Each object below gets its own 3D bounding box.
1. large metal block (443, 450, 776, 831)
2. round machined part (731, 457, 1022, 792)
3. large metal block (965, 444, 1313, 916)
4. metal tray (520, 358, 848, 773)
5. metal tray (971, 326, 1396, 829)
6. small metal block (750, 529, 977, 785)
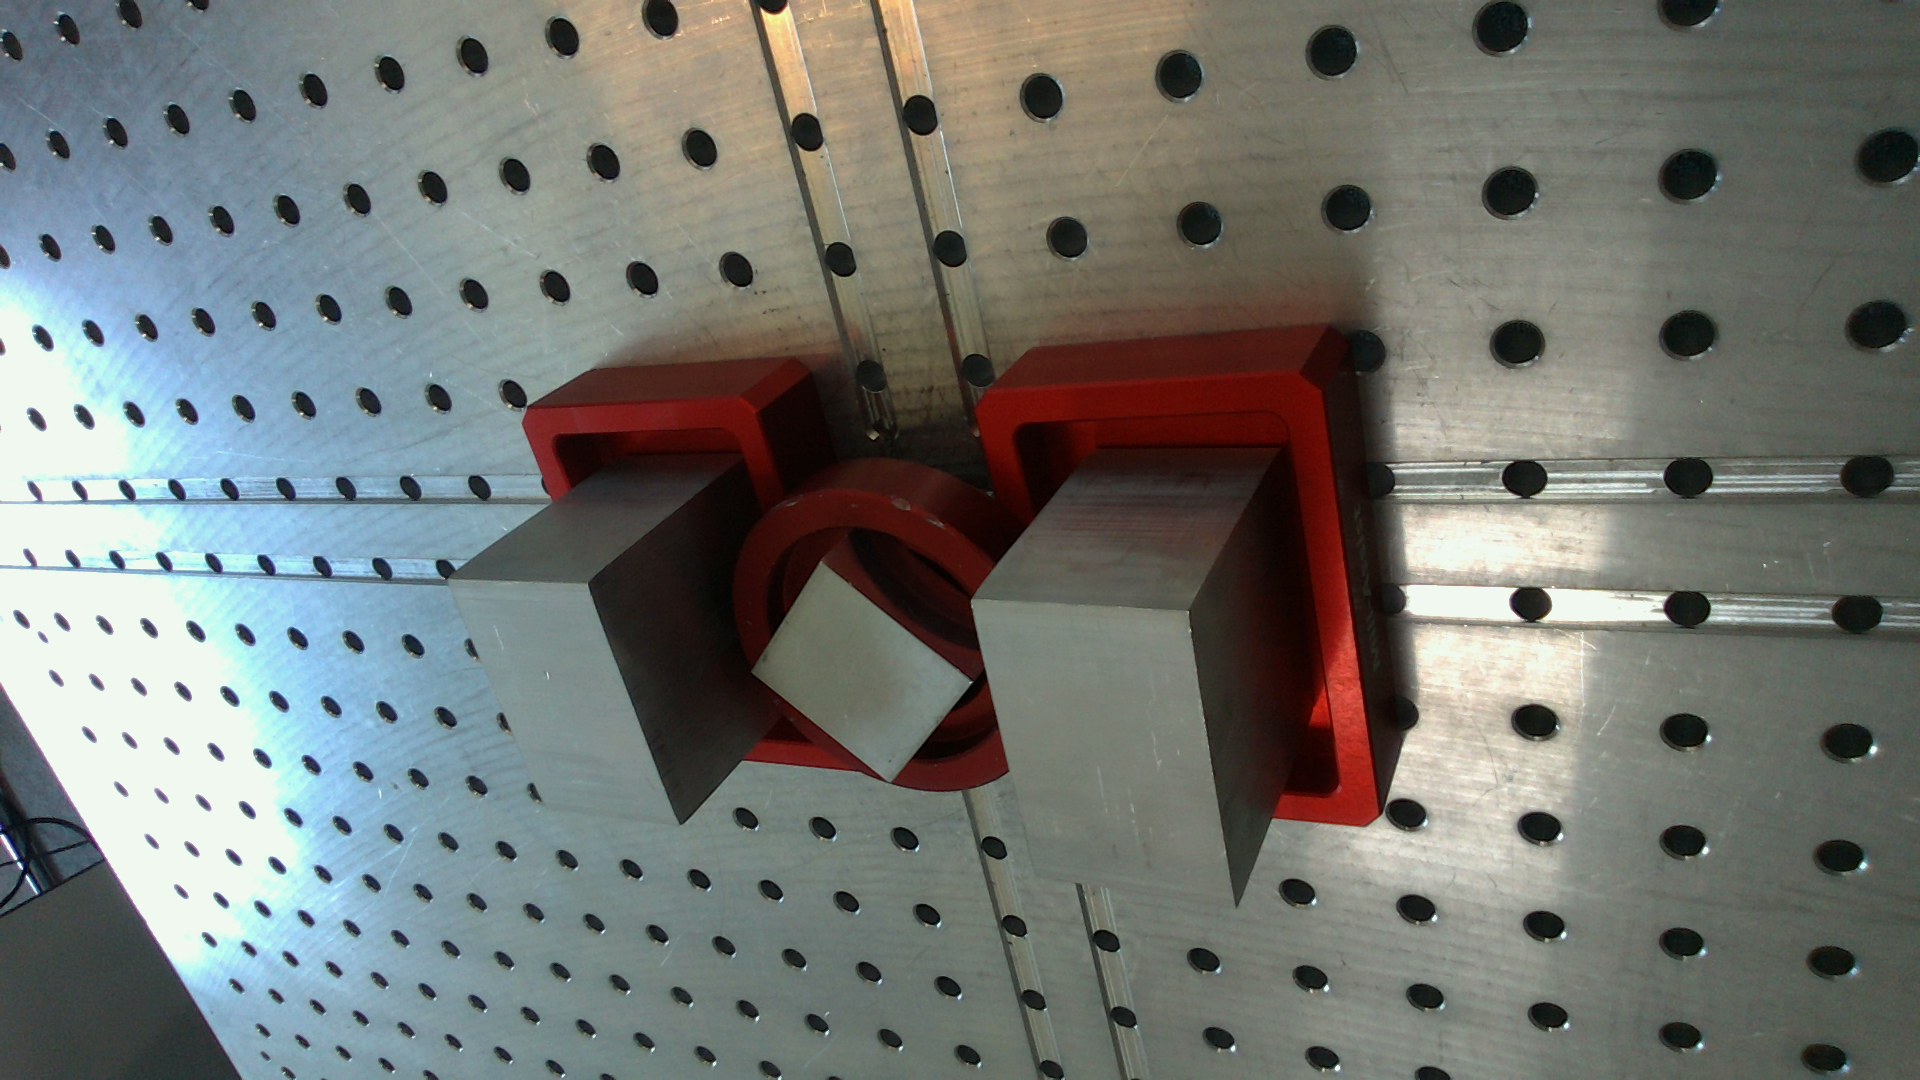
[{"bbox_3d":[-0.093,0.027,0.409,0.050,0.080,0.080,1,119,28],"label":"large metal block"},{"bbox_3d":[-0.013,0.020,0.393,0.098,0.042,0.098,13,124,21],"label":"round machined part"},{"bbox_3d":[0.048,0.030,0.336,0.050,0.080,0.080,1,119,28],"label":"large metal block"},{"bbox_3d":[-0.077,0.010,0.439,0.090,0.030,0.130,1,119,28],"label":"metal tray"},{"bbox_3d":[0.062,0.012,0.366,0.090,0.030,0.130,0,118,28],"label":"metal tray"},{"bbox_3d":[-0.022,0.031,0.374,0.050,0.025,0.050,38,129,2],"label":"small metal block"}]
